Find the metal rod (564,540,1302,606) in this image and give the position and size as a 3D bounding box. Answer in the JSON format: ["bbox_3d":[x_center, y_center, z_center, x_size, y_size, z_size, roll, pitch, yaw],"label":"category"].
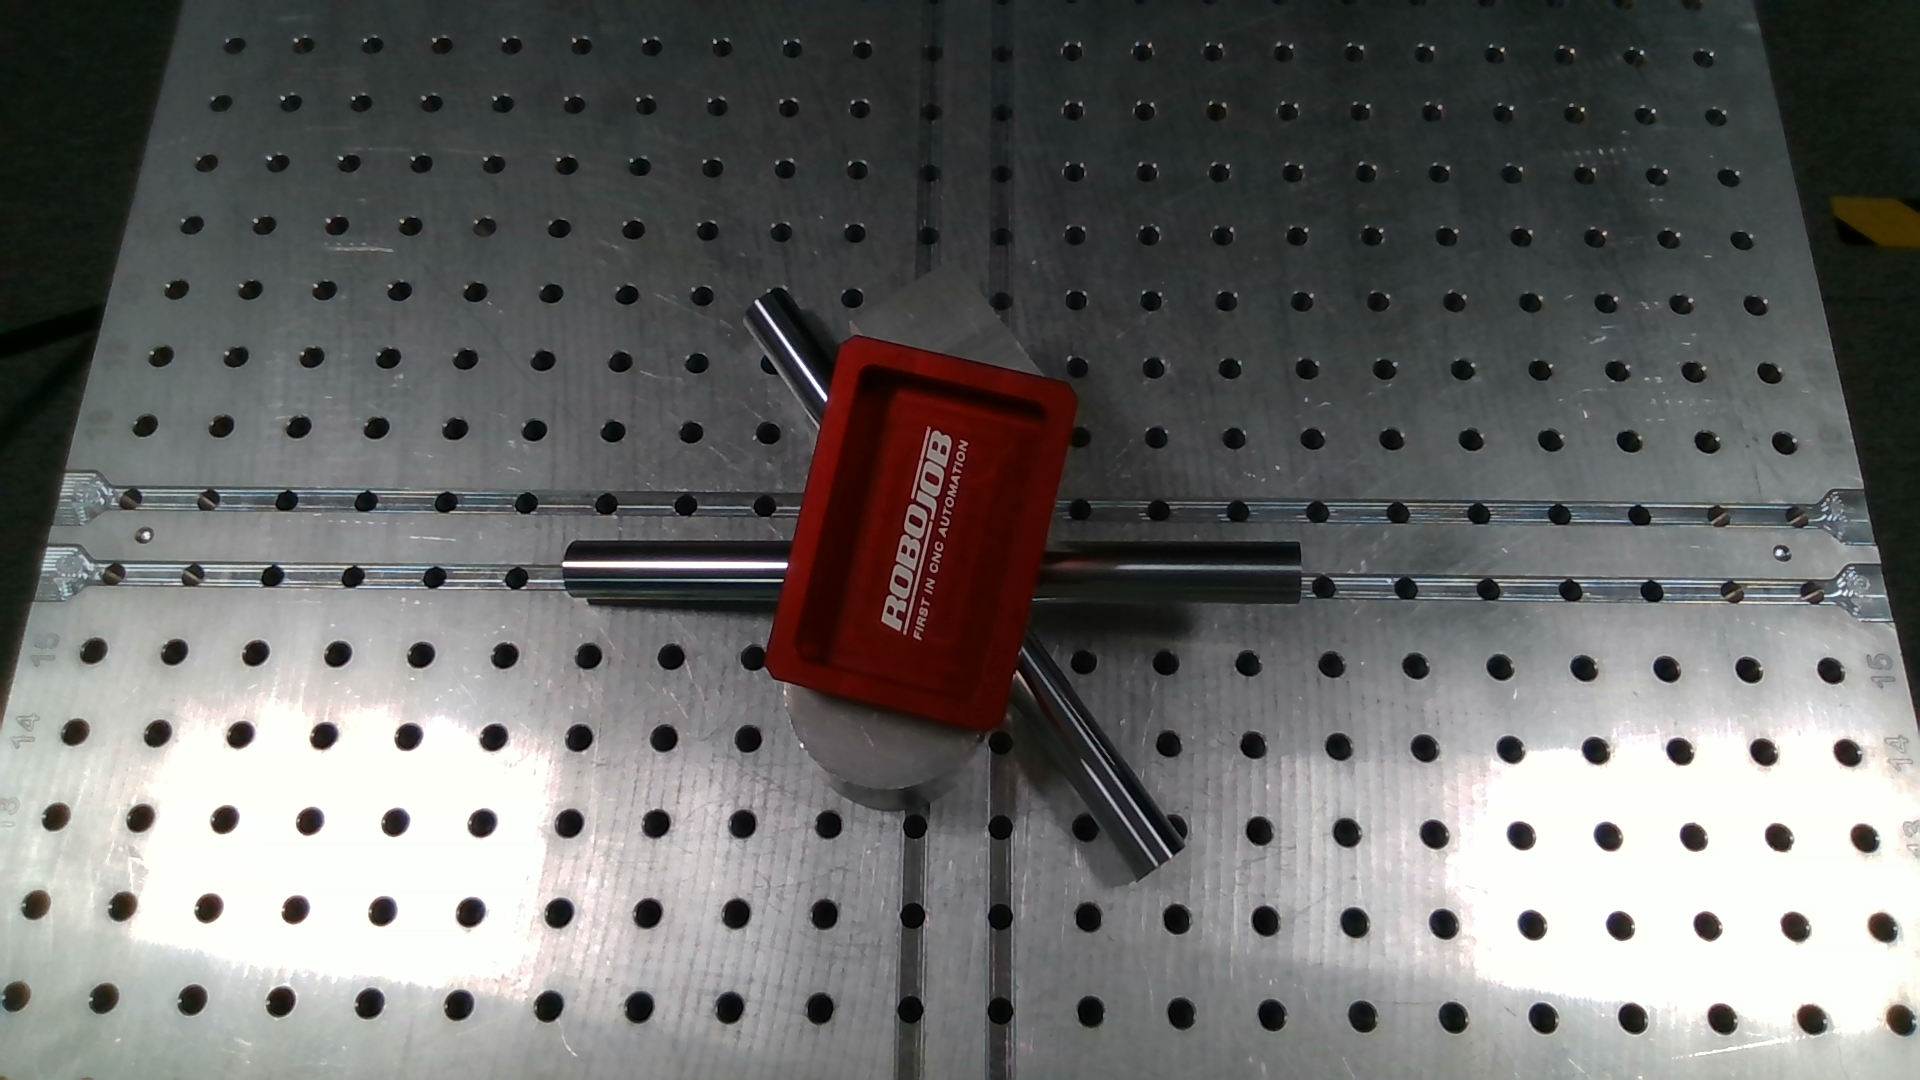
[{"bbox_3d":[-0.015,0.013,0.562,0.300,0.025,0.025,0,70,10],"label":"metal rod"}]

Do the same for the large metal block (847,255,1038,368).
[{"bbox_3d":[-0.002,-0.058,0.582,0.050,0.080,0.080,-33,73,-11],"label":"large metal block"}]

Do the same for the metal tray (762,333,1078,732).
[{"bbox_3d":[-0.014,-0.003,0.514,0.090,0.030,0.130,13,89,5],"label":"metal tray"}]

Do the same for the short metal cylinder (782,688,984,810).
[{"bbox_3d":[-0.028,0.065,0.553,0.080,0.050,0.080,0,70,0],"label":"short metal cylinder"}]

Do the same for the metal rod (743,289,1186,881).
[{"bbox_3d":[-0.004,0.011,0.587,0.025,0.025,0.299,-32,74,-11],"label":"metal rod"}]
